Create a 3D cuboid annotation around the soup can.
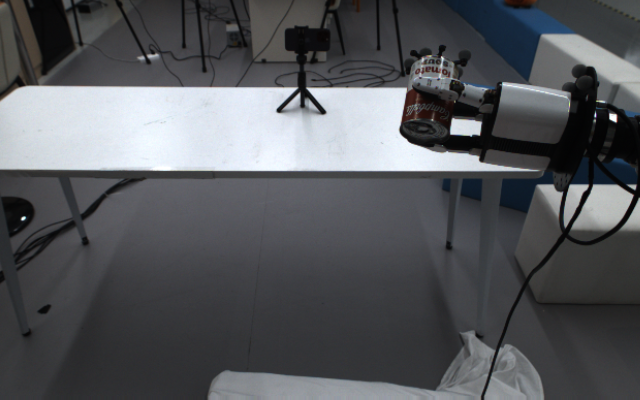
[{"bbox_3d":[0.151,-0.139,0.665,0.067,0.067,0.101,9,72,9],"label":"soup can"}]
